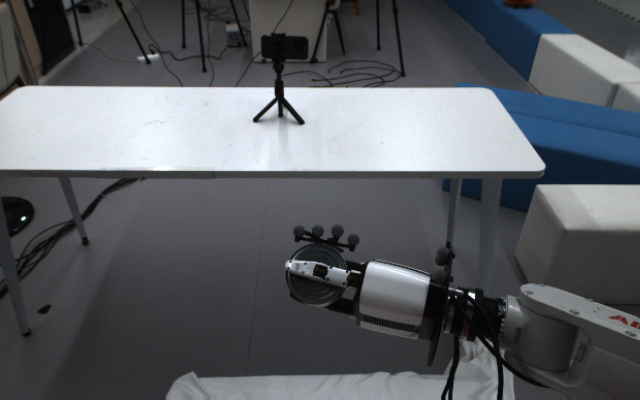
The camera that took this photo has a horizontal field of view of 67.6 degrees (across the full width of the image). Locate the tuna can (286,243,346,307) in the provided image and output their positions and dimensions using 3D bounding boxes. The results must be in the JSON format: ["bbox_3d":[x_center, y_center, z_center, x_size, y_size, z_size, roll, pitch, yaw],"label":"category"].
[{"bbox_3d":[-0.002,0.102,0.672,0.085,0.034,0.085,-3,67,7],"label":"tuna can"}]
